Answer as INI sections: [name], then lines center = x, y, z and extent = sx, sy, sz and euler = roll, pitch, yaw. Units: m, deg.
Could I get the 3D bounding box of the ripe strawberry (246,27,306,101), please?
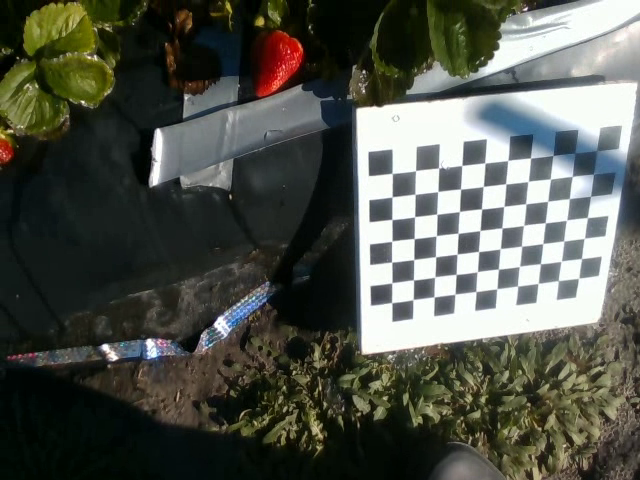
[ripe strawberry]
center = -0.042, -0.159, 0.549
extent = 0.061, 0.065, 0.057
euler = 25, -28, -21
